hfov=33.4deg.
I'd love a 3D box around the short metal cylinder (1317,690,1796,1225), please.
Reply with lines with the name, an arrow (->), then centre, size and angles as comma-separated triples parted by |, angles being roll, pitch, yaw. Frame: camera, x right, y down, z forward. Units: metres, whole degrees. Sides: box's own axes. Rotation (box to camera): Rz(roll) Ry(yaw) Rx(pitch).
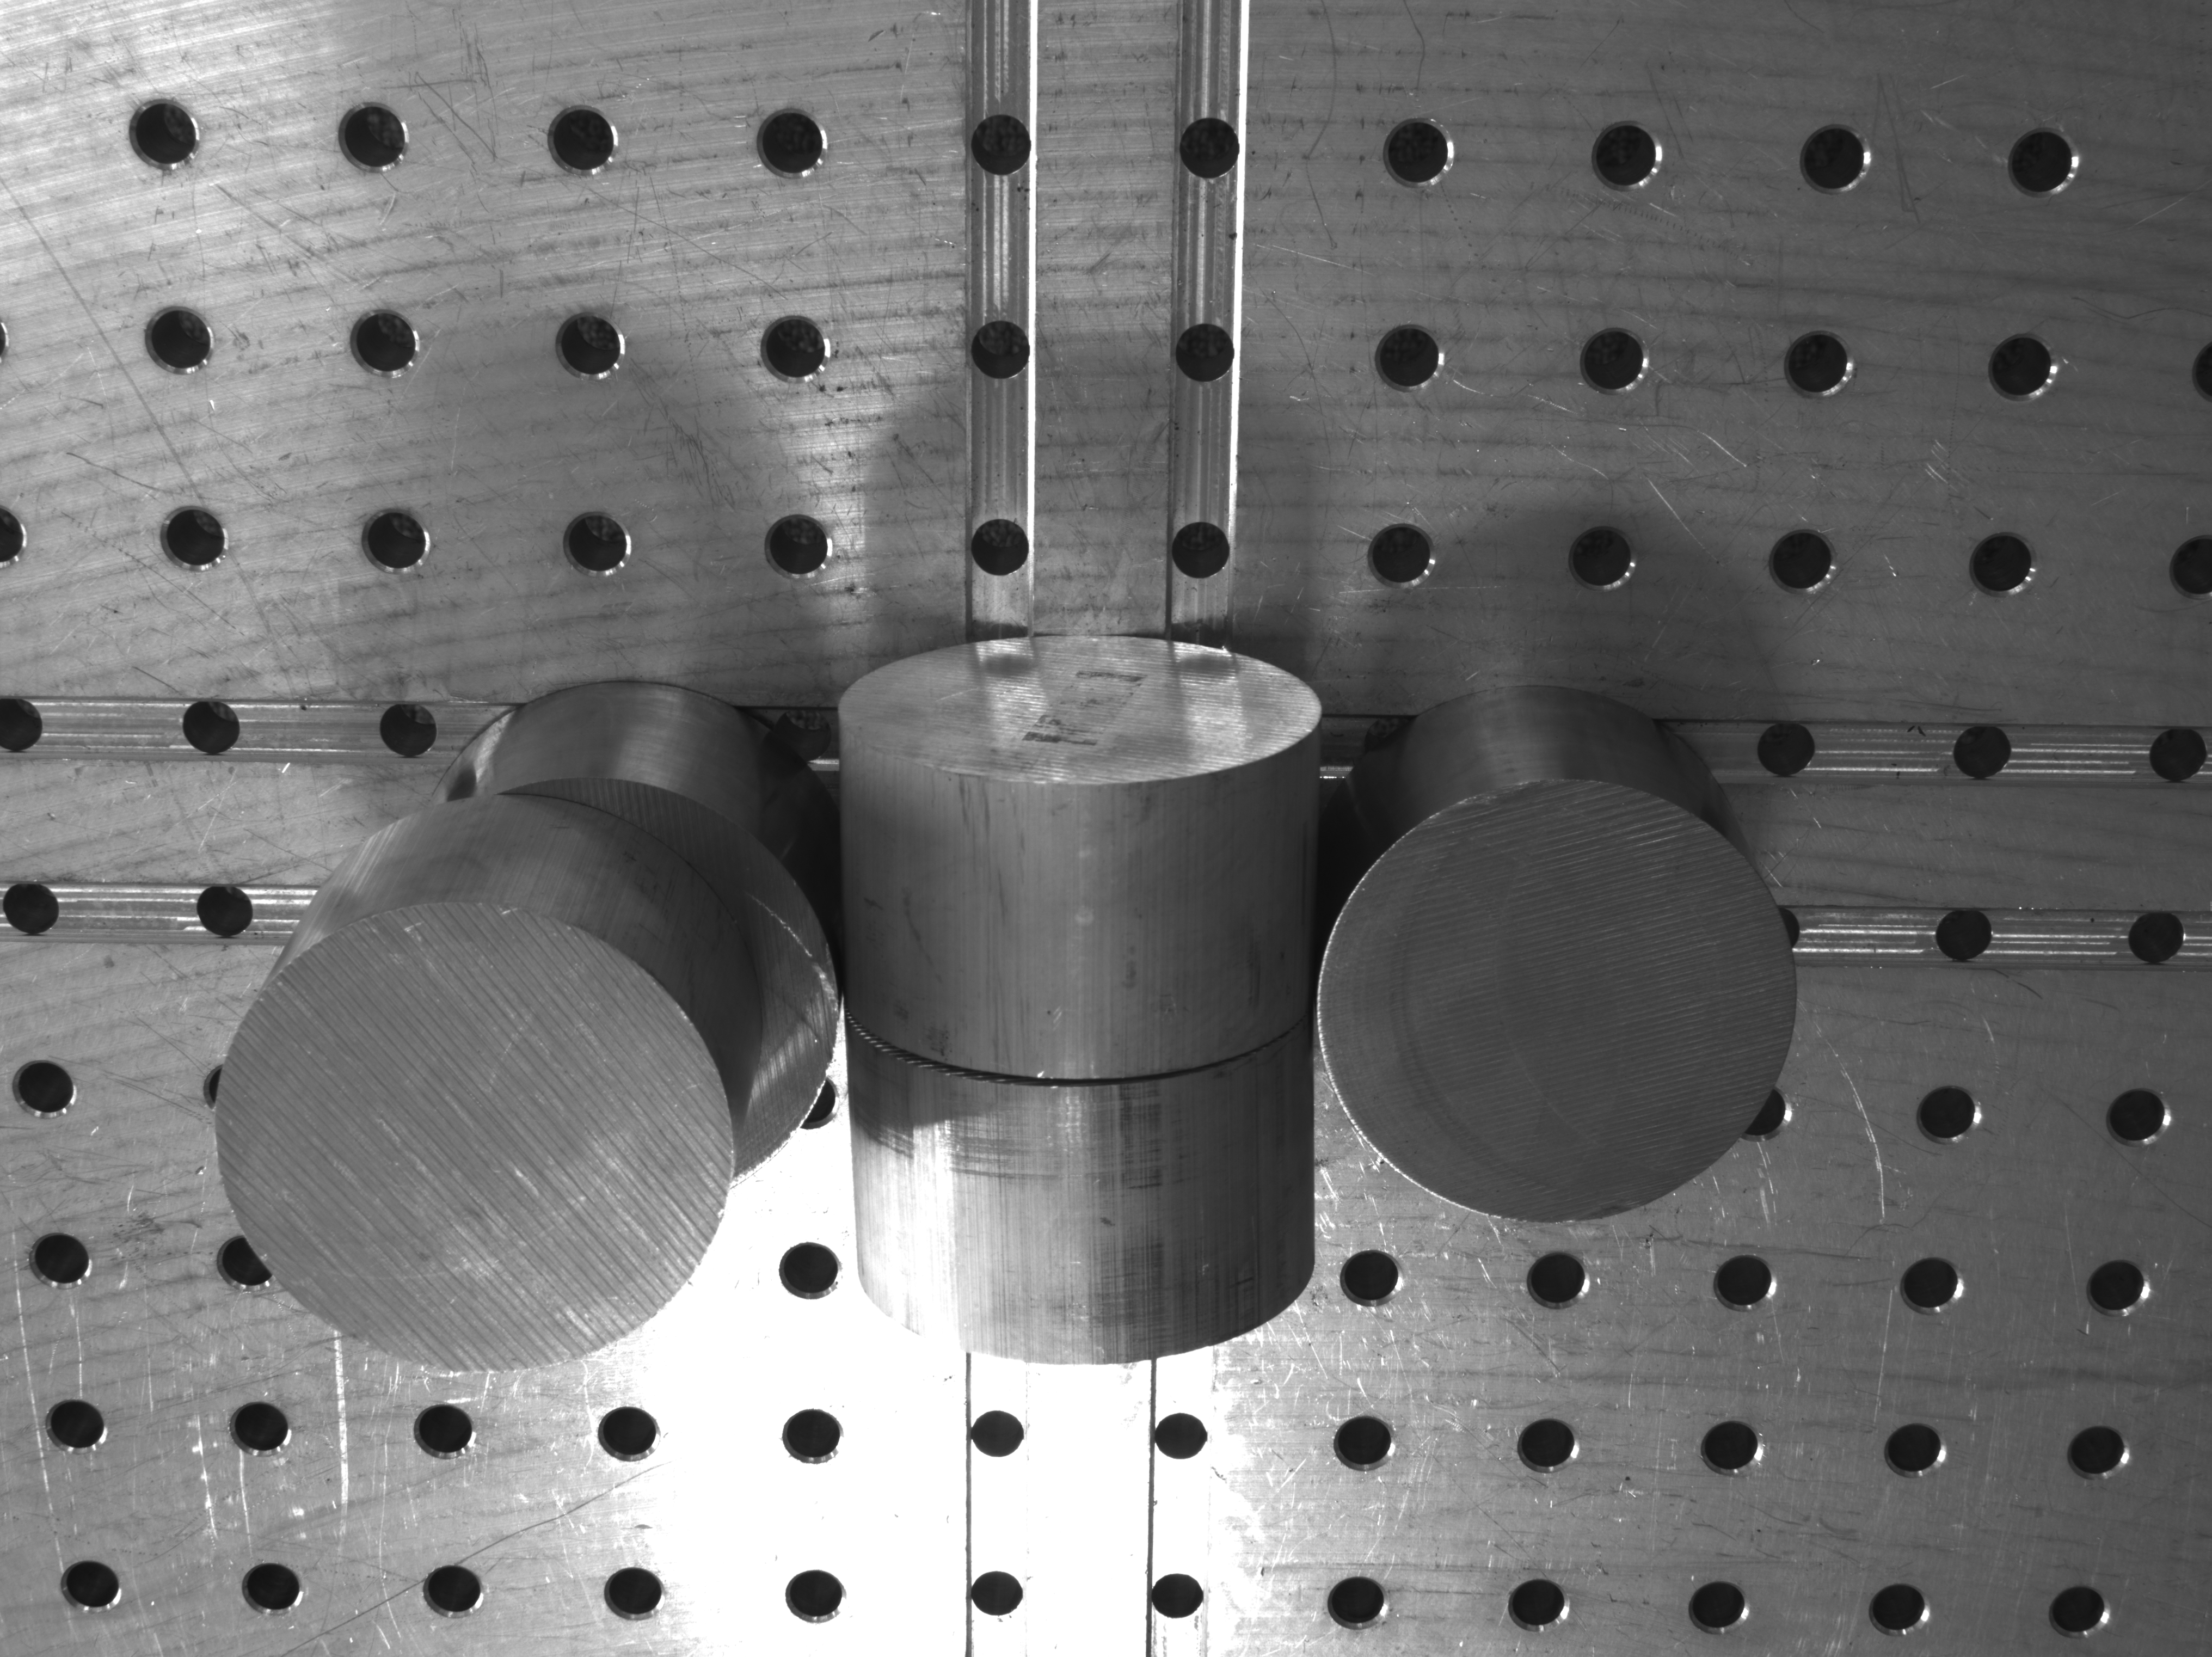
short metal cylinder -> 0.075, 0.022, 0.640 | 0.080, 0.050, 0.080 | 0, 110, 0

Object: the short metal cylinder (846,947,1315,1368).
short metal cylinder -> -0.004, 0.052, 0.636 | 0.080, 0.080, 0.050 | -1, 110, 0

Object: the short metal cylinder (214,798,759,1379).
short metal cylinder -> -0.098, 0.041, 0.593 | 0.080, 0.050, 0.080 | 0, 110, 0

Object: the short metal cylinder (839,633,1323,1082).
short metal cylinder -> -0.004, 0.003, 0.619 | 0.080, 0.080, 0.050 | 1, 111, 0

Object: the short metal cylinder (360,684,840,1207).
short metal cylinder -> -0.085, 0.021, 0.640 | 0.080, 0.050, 0.080 | 0, 110, 0
